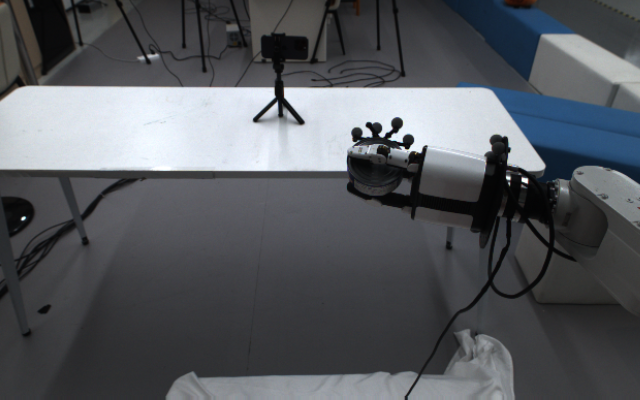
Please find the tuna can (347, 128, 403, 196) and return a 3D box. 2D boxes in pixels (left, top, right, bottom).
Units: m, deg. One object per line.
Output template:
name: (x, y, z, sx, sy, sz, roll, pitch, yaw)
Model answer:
tuna can: (0.082, -0.054, 0.714, 0.085, 0.034, 0.085, -2, 56, 4)
